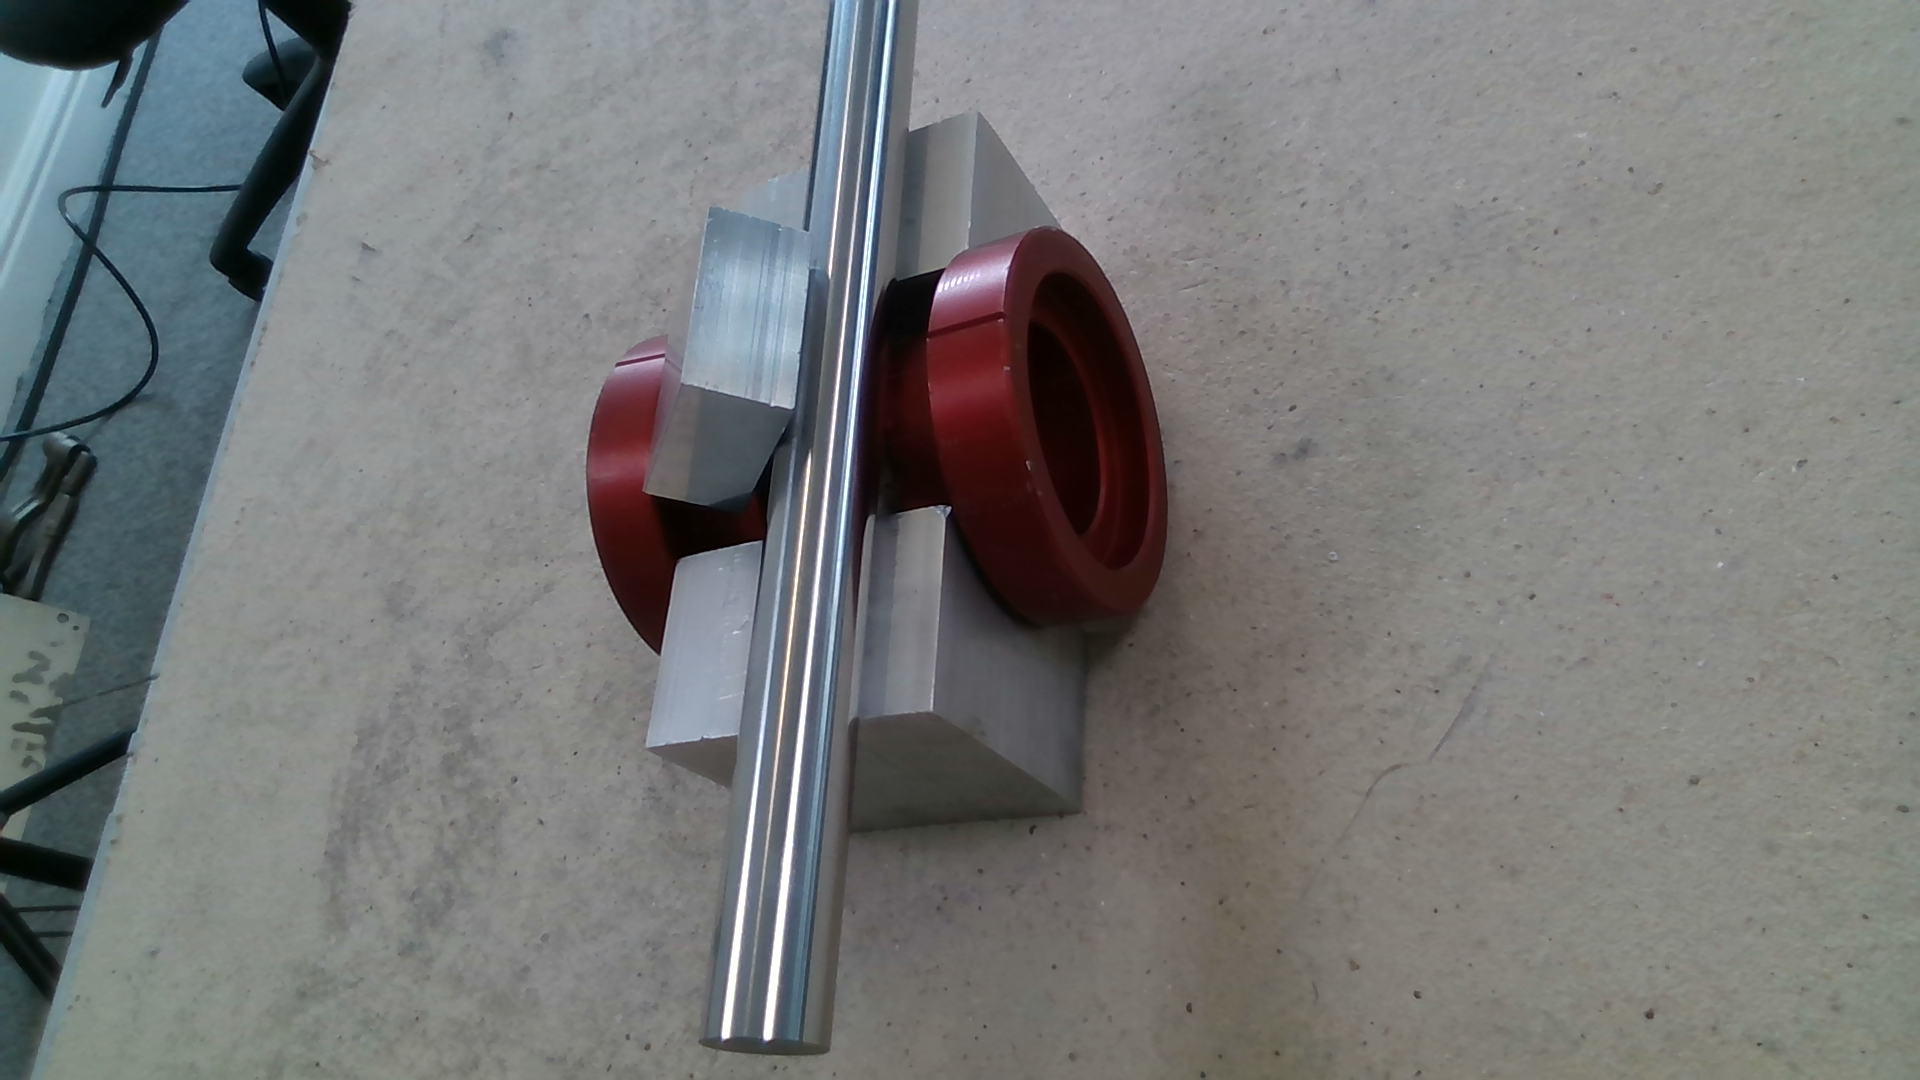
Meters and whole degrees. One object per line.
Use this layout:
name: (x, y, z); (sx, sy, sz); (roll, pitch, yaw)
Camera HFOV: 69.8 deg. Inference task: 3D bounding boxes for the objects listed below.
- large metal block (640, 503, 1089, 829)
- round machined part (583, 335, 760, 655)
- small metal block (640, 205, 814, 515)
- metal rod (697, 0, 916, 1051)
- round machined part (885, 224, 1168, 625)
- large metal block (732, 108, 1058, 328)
large metal block: (-0.021, 0.037, 0.351); (0.080, 0.080, 0.050); (-11, 60, 27)
round machined part: (-0.058, -0.013, 0.389); (0.042, 0.098, 0.098); (-7, 62, 23)
small metal block: (-0.056, -0.042, 0.329); (0.050, 0.025, 0.050); (130, 148, -56)
metal rod: (-0.030, -0.038, 0.329); (0.025, 0.025, 0.299); (-11, 60, 27)
round machined part: (0.015, -0.027, 0.351); (0.042, 0.098, 0.098); (-11, 60, 28)
large metal block: (-0.013, -0.069, 0.402); (0.080, 0.080, 0.050); (-10, 61, 27)
